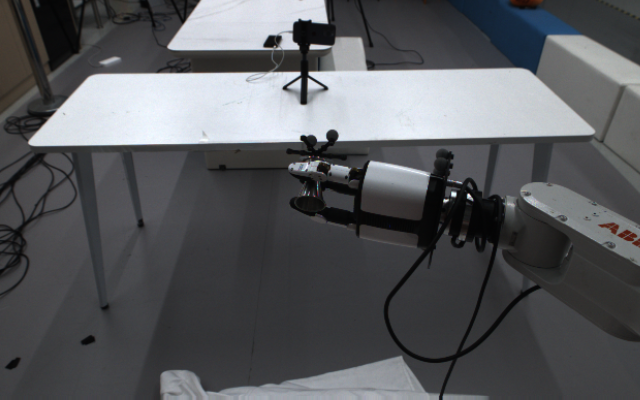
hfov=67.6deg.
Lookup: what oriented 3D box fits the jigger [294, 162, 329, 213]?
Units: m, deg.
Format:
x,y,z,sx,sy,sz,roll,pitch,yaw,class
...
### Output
x,y,z,sx,sy,sz,roll,pitch,yaw,class
-0.013,-0.025,0.687,0.043,0.043,0.071,5,60,5,jigger
